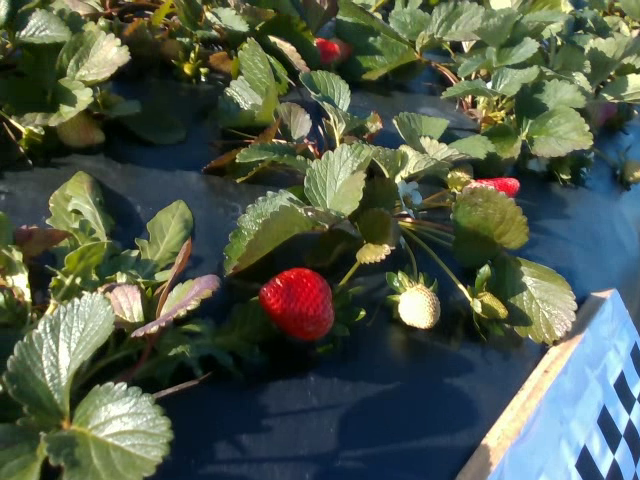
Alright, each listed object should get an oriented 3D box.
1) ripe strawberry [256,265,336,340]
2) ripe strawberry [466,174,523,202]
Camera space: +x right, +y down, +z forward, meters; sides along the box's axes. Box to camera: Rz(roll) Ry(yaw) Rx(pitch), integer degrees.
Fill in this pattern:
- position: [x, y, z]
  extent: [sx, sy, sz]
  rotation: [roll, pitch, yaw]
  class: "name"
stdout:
- position: [-0.014, 0.028, 0.288]
  extent: [0.036, 0.044, 0.053]
  rotation: [-18, -21, 36]
  class: "ripe strawberry"
- position: [0.122, -0.031, 0.435]
  extent: [0.045, 0.037, 0.042]
  rotation: [-33, 16, 15]
  class: "ripe strawberry"
